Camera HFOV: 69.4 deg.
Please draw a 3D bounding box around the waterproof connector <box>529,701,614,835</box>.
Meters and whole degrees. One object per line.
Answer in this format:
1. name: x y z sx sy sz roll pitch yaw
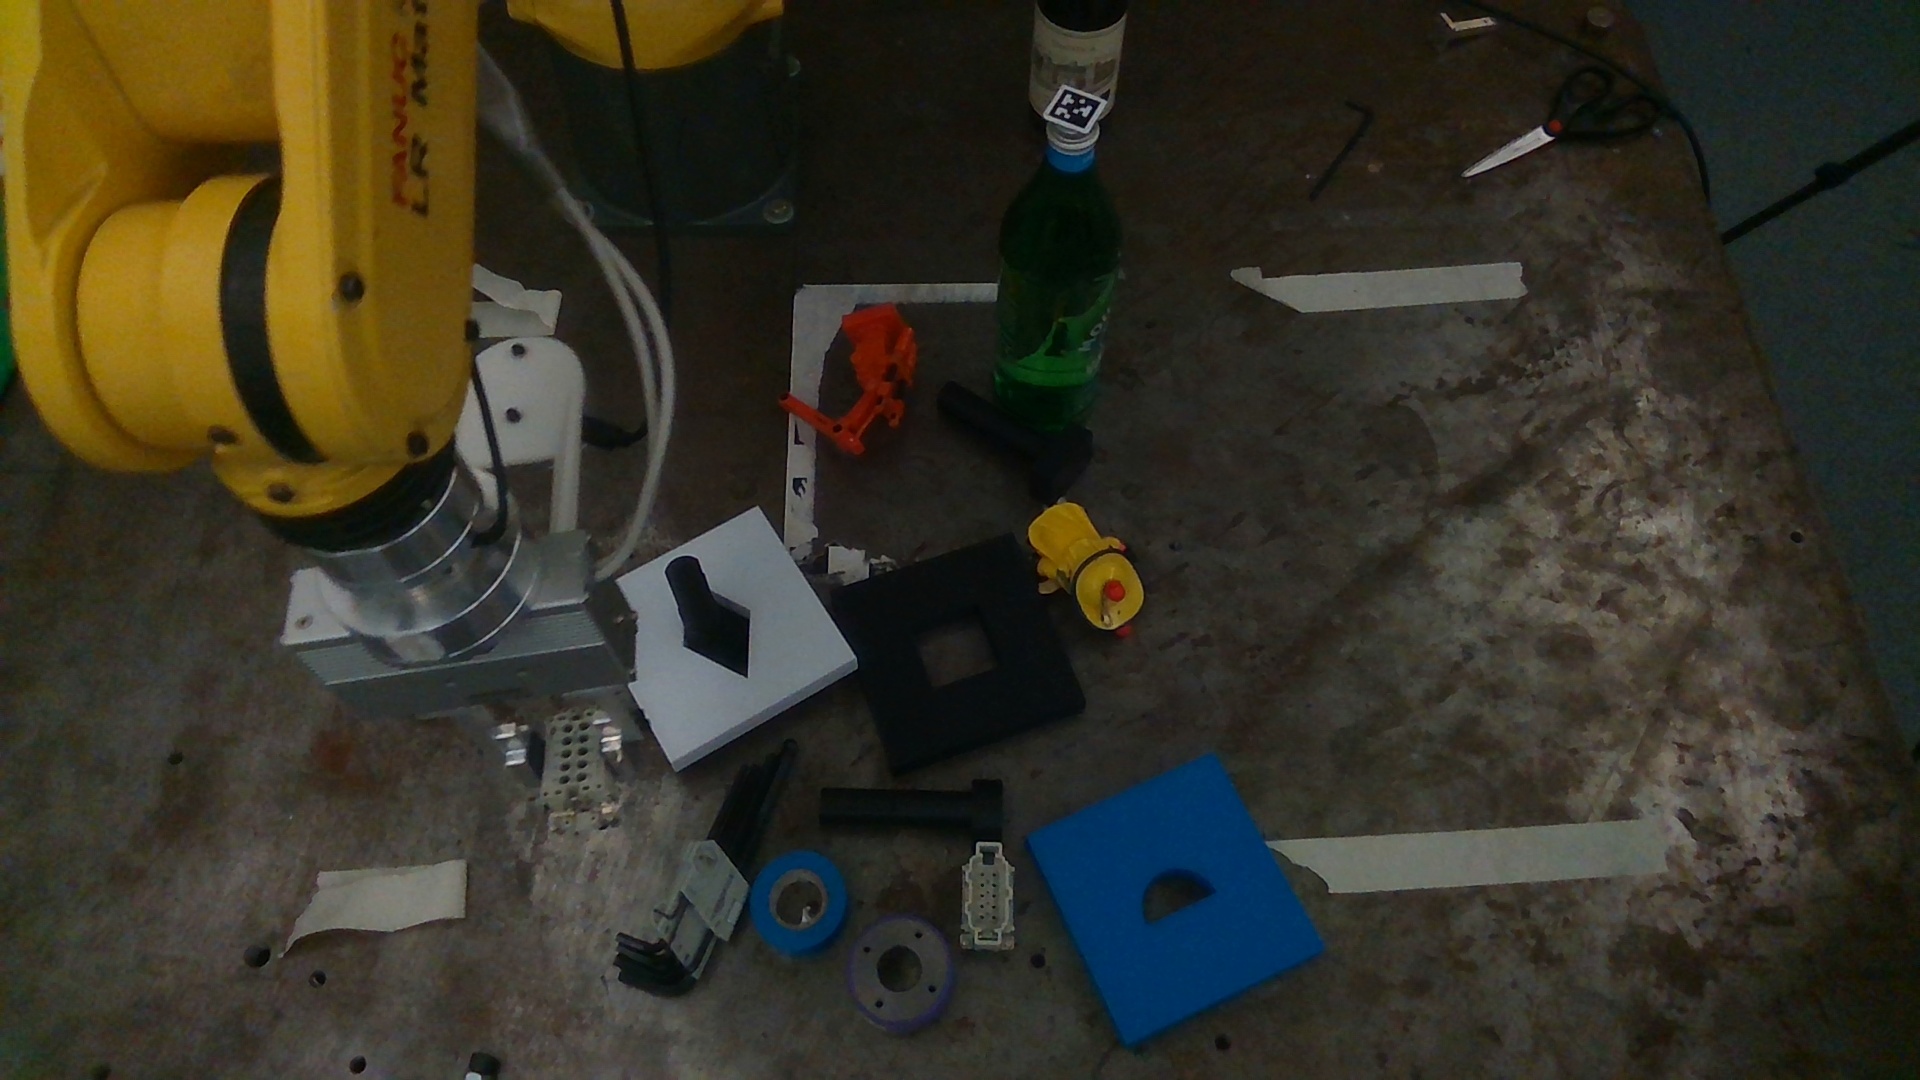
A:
1. waterproof connector: -0.200 0.117 0.722 0.037 0.038 0.069 -8 57 4
